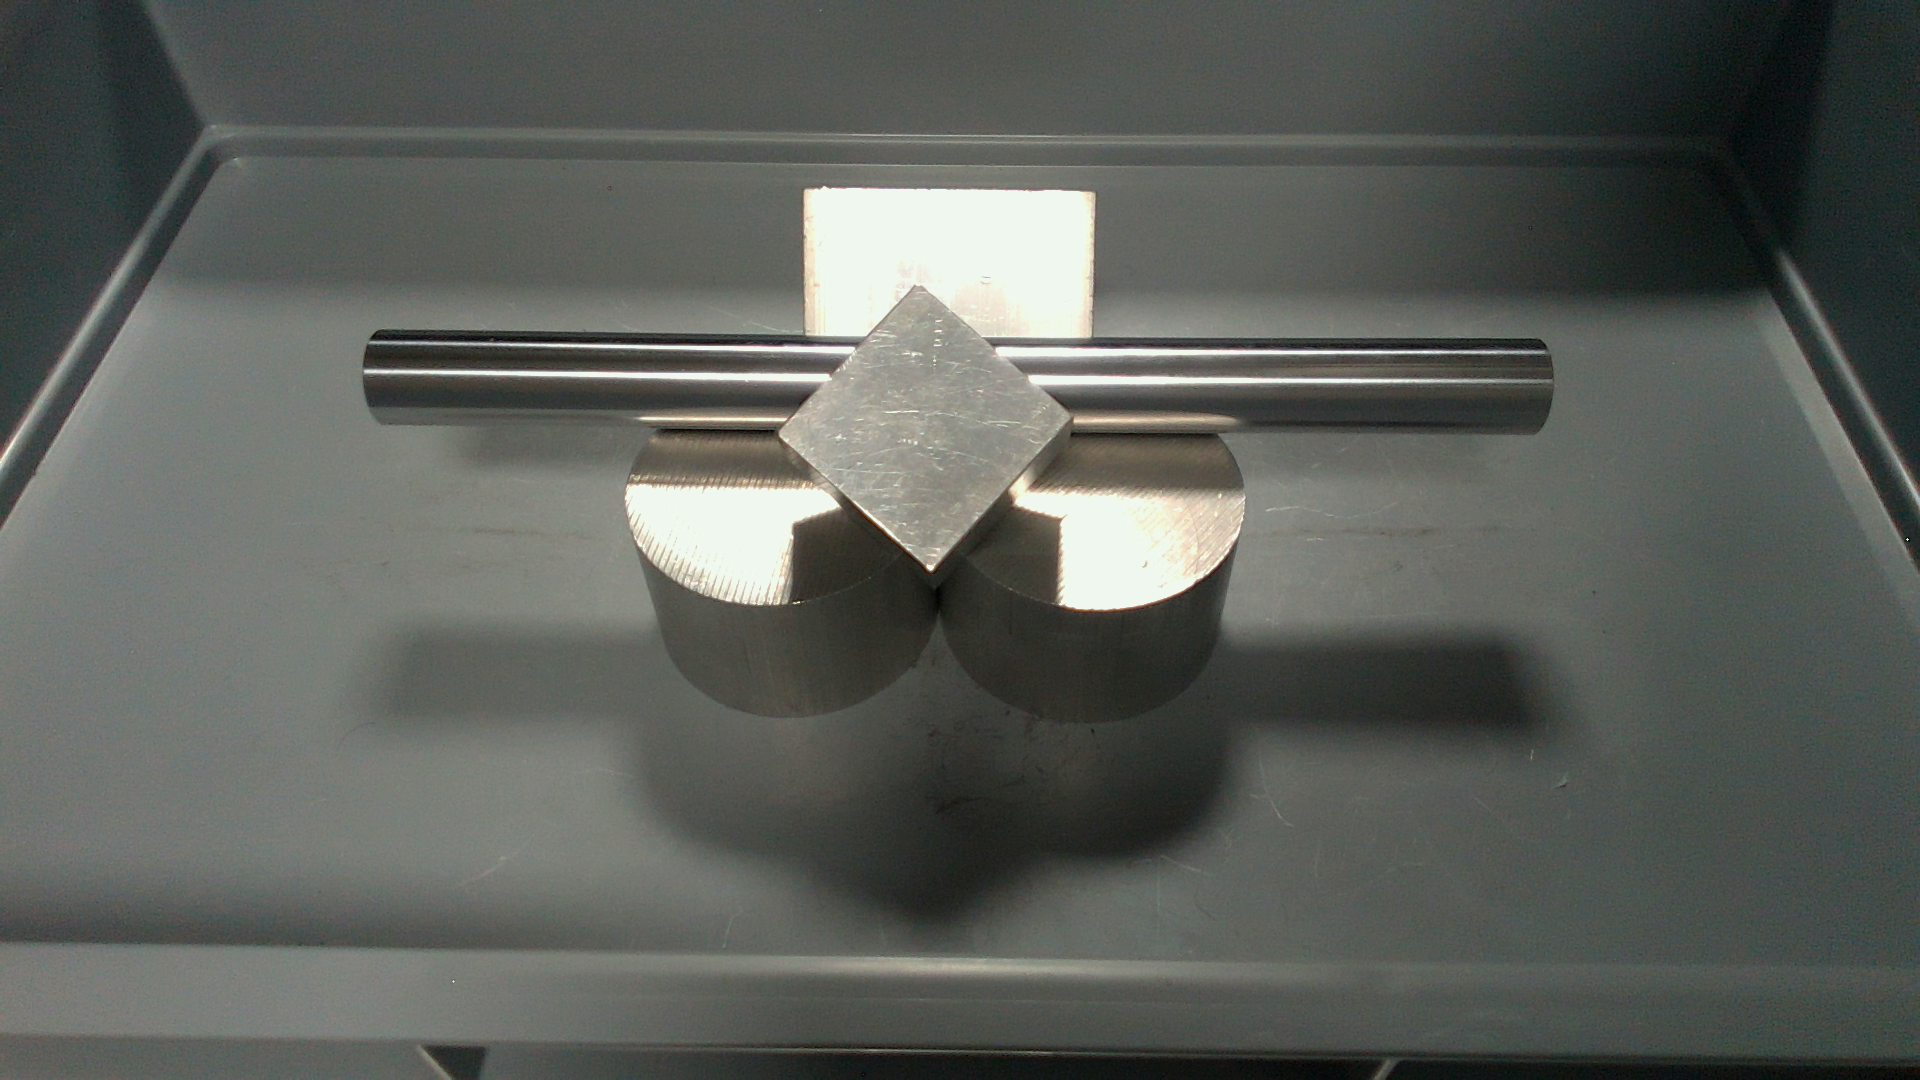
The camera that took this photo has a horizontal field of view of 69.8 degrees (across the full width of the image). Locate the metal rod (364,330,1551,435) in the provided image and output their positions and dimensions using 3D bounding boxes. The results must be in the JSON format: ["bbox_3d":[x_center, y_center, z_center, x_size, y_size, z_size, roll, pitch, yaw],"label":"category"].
[{"bbox_3d":[-0.001,-0.041,0.360,0.300,0.025,0.025,1,50,0],"label":"metal rod"}]

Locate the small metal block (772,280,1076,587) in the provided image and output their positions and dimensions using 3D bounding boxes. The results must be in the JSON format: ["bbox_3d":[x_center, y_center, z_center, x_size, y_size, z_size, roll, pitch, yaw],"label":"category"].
[{"bbox_3d":[-0.008,-0.025,0.332,0.050,0.025,0.050,41,81,8],"label":"small metal block"}]

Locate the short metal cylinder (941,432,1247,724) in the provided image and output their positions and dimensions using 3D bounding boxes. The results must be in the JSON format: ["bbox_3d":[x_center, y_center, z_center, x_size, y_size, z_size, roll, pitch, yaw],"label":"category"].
[{"bbox_3d":[0.034,0.002,0.372,0.080,0.050,0.080,0,50,0],"label":"short metal cylinder"}]

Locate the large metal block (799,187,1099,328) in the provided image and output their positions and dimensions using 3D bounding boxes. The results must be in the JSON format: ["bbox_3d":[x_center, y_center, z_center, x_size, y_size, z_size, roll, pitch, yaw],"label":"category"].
[{"bbox_3d":[-0.002,-0.074,0.409,0.080,0.050,0.080,1,7,1],"label":"large metal block"}]

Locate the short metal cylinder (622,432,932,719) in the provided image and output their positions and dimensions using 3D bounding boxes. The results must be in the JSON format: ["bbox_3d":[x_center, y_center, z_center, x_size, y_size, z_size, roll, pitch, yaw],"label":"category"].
[{"bbox_3d":[-0.046,0.001,0.373,0.080,0.050,0.080,0,50,0],"label":"short metal cylinder"}]
